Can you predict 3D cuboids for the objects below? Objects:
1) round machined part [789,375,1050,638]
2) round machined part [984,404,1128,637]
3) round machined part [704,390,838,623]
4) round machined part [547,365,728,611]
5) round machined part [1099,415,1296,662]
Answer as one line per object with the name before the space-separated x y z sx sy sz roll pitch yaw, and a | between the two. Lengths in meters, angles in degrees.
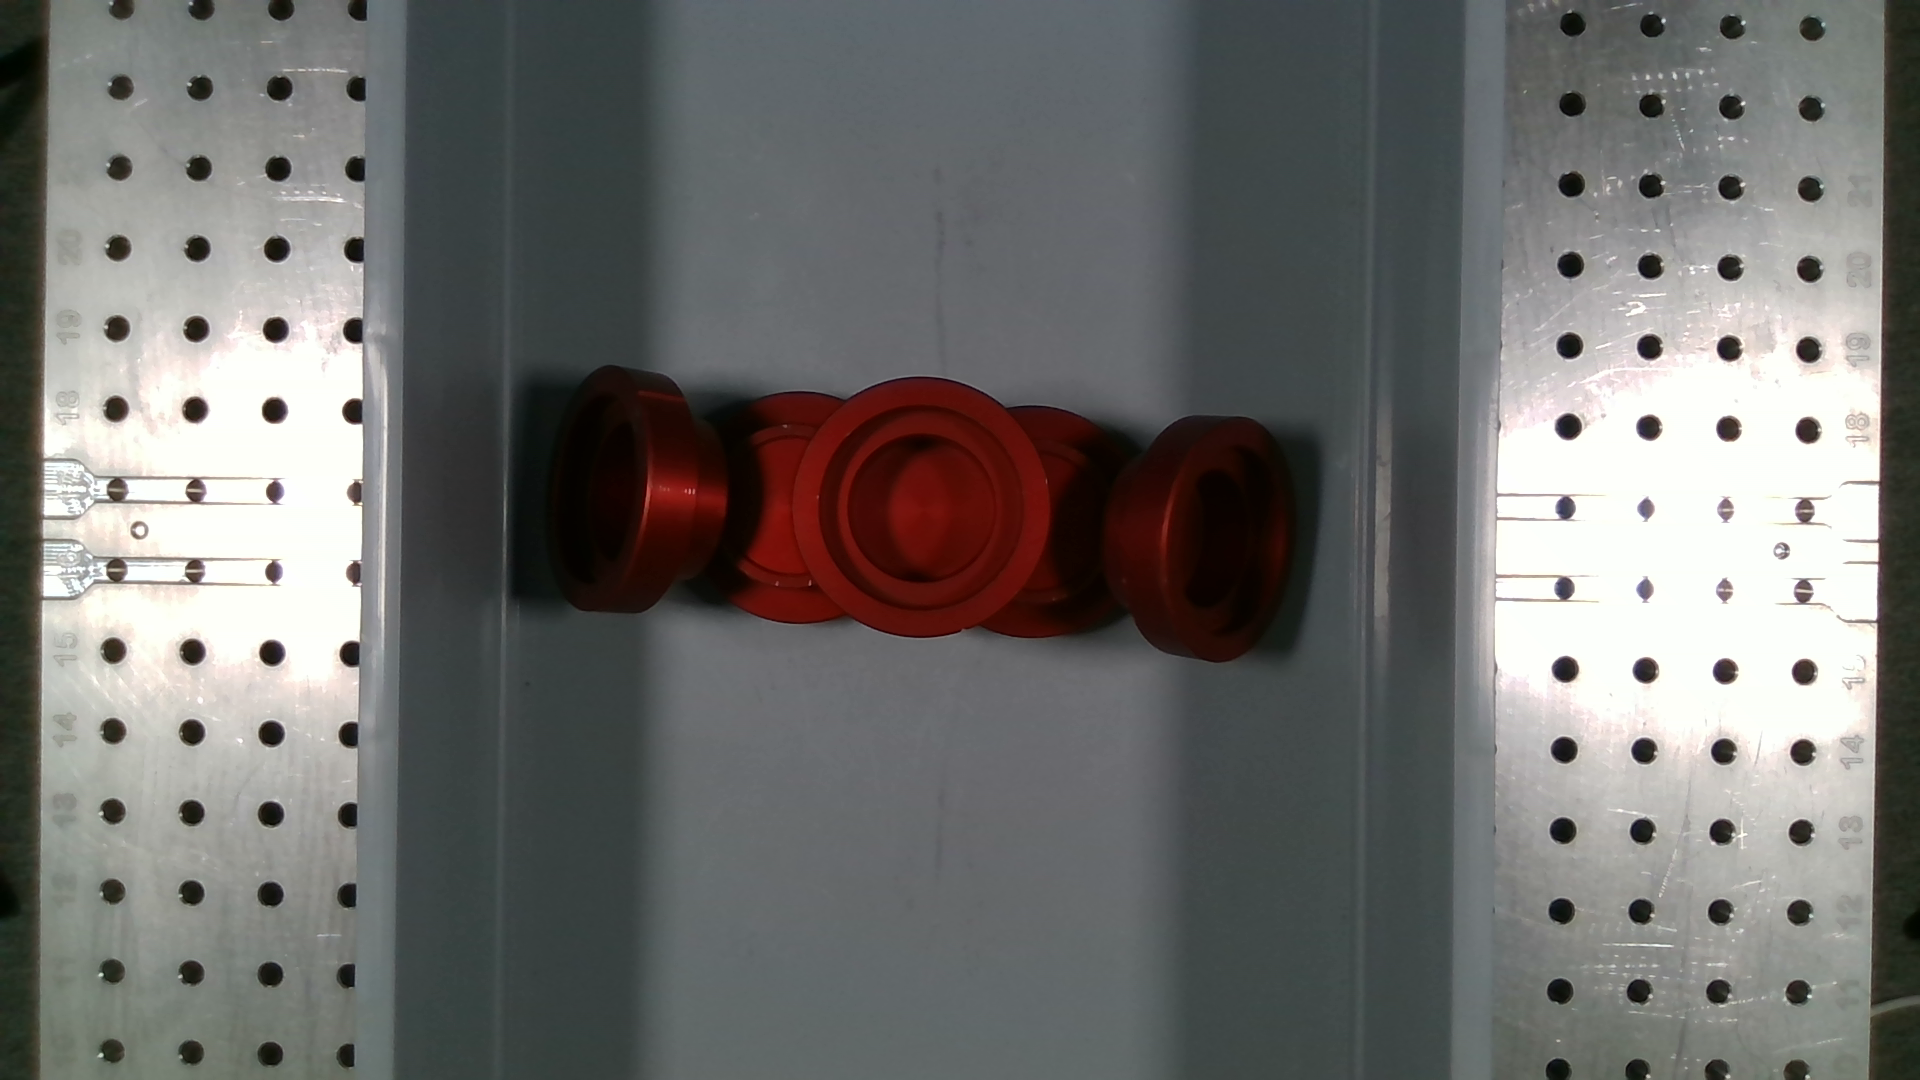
round machined part | -0.015 -0.013 0.534 0.098 0.042 0.098 0 90 0
round machined part | 0.030 -0.008 0.577 0.098 0.042 0.098 0 90 0
round machined part | -0.068 -0.014 0.576 0.098 0.042 0.098 0 90 0
round machined part | -0.129 -0.019 0.559 0.042 0.098 0.098 6 90 -38
round machined part | 0.093 -0.002 0.559 0.042 0.098 0.098 7 91 42
